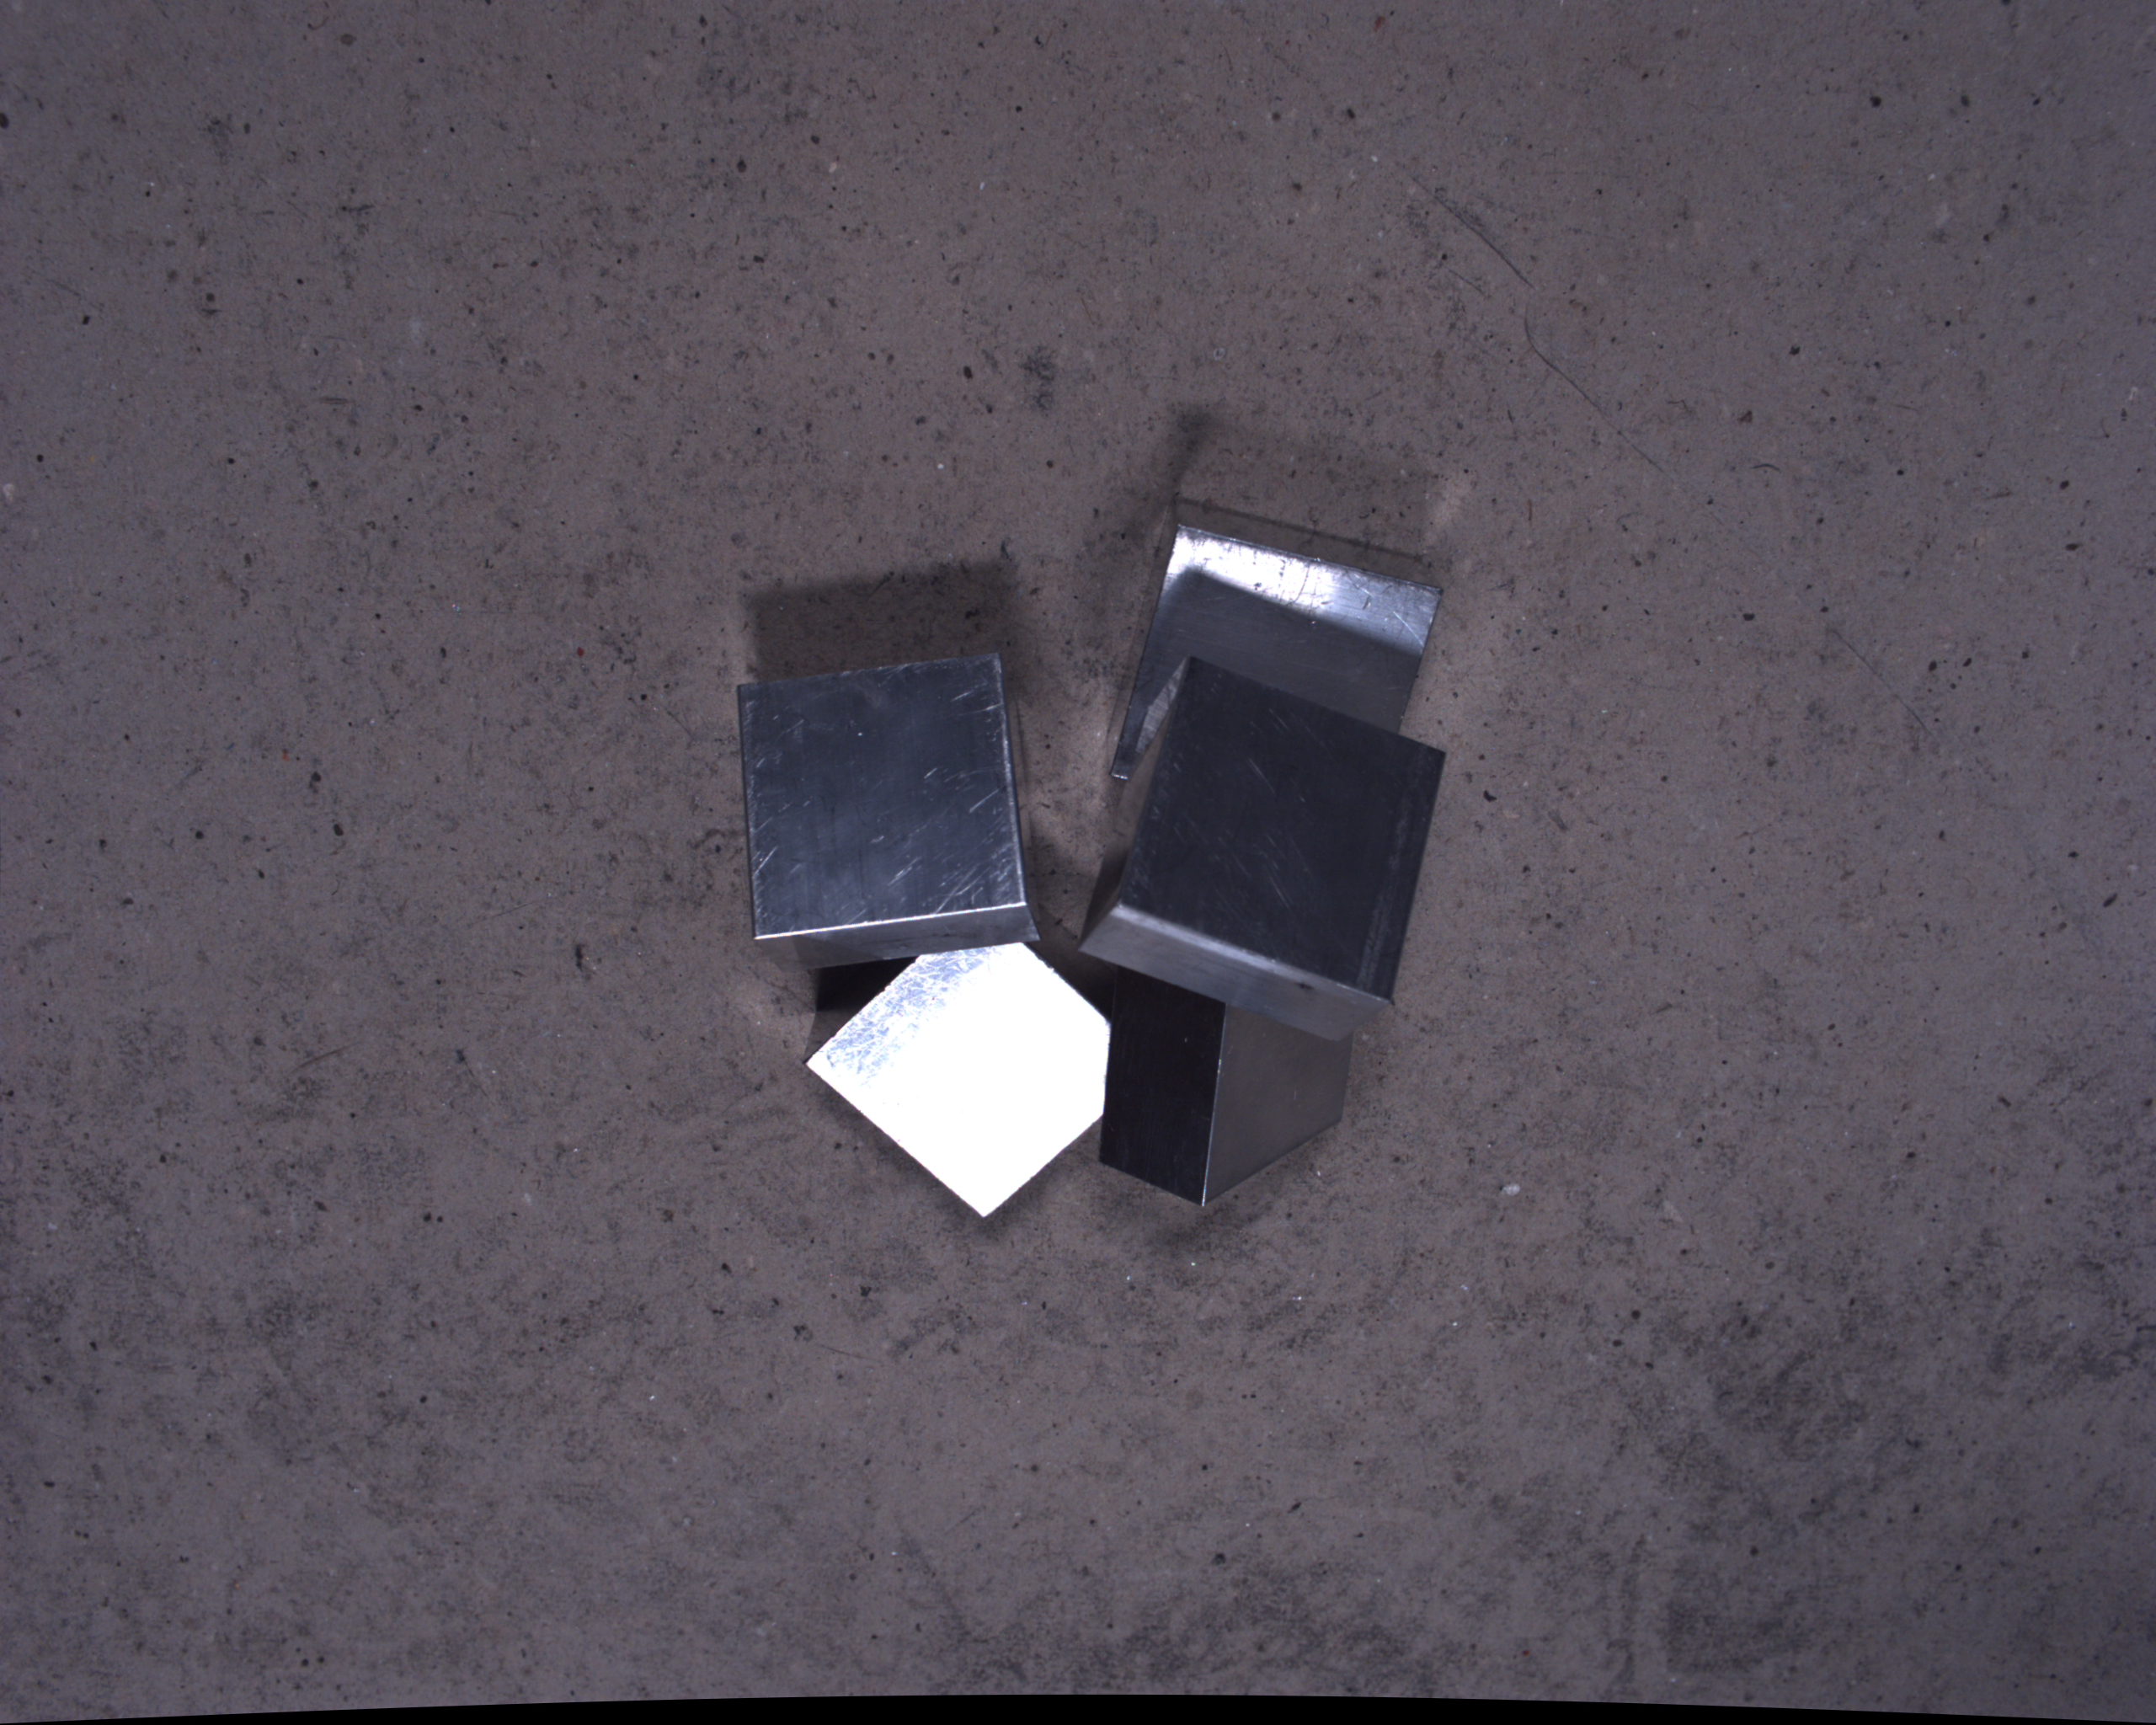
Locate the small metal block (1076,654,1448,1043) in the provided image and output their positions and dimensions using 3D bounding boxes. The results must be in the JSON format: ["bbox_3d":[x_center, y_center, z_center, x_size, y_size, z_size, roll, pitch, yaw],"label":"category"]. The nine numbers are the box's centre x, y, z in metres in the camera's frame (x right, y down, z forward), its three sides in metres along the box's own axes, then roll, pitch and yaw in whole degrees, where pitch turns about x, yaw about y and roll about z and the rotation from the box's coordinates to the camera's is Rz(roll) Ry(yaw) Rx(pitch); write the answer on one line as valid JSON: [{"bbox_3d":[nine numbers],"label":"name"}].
[{"bbox_3d":[0.033,-0.002,0.370,0.050,0.025,0.050,20,65,-8],"label":"small metal block"}]

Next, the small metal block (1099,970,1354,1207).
[{"bbox_3d":[0.031,0.032,0.408,0.025,0.050,0.050,19,114,34],"label":"small metal block"}]

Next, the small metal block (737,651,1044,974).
[{"bbox_3d":[-0.035,-0.009,0.394,0.050,0.025,0.050,-7,72,2],"label":"small metal block"}]

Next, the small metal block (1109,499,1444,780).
[{"bbox_3d":[0.036,-0.037,0.398,0.050,0.025,0.050,13,110,-5],"label":"small metal block"}]

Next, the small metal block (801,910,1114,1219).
[{"bbox_3d":[-0.019,0.035,0.424,0.050,0.025,0.050,-43,105,14],"label":"small metal block"}]

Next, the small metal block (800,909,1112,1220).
[{"bbox_3d":[-0.019,0.035,0.424,0.050,0.025,0.050,-43,105,14],"label":"small metal block"}]
